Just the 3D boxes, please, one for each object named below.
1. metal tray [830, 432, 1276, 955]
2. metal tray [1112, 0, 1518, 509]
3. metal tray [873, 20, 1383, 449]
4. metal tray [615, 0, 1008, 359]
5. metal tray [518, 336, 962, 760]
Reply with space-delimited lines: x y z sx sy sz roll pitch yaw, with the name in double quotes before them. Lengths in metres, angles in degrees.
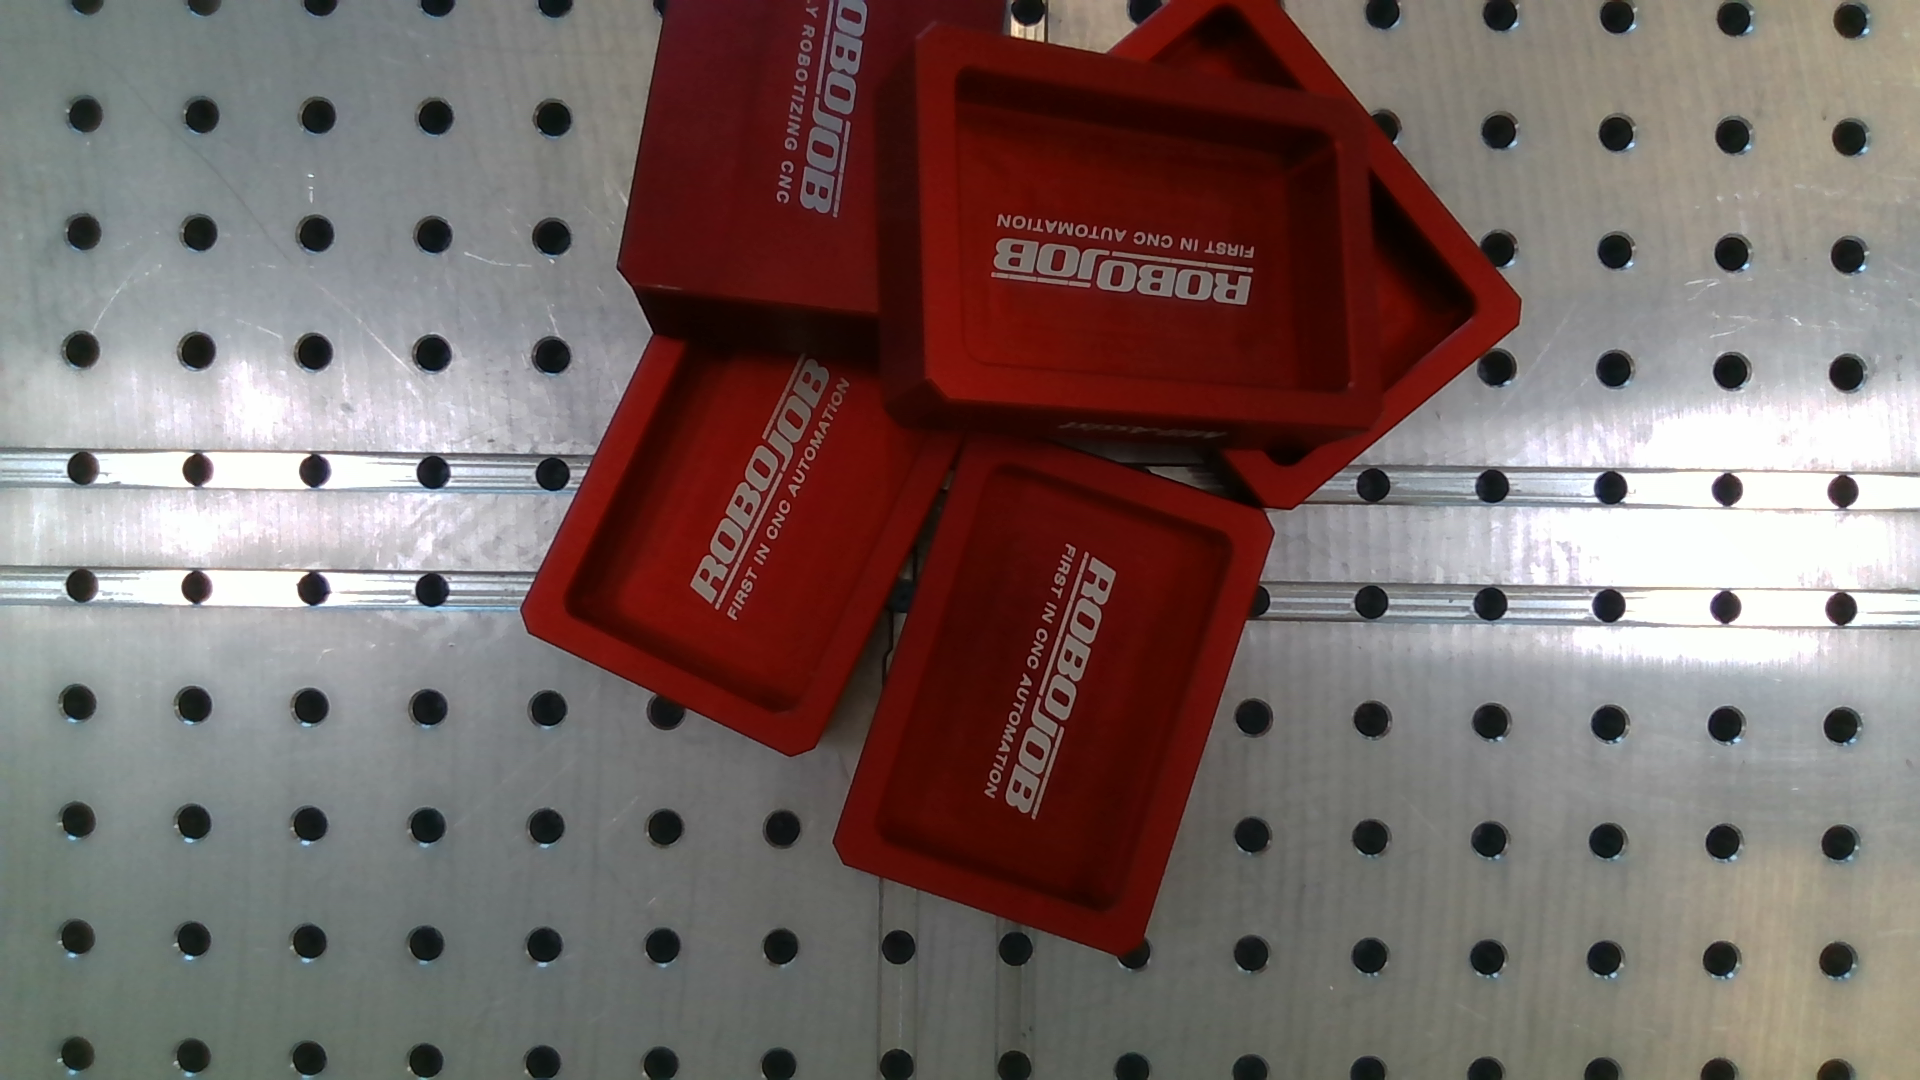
"metal tray" 0.026 0.040 0.394 0.090 0.030 0.130 18 90 1
"metal tray" 0.081 -0.084 0.394 0.090 0.030 0.130 -40 90 -1
"metal tray" 0.045 -0.073 0.352 0.130 0.030 0.090 1 82 -24
"metal tray" -0.036 -0.117 0.378 0.090 0.030 0.130 7 76 1
"metal tray" -0.056 -0.015 0.394 0.090 0.030 0.130 25 90 0
